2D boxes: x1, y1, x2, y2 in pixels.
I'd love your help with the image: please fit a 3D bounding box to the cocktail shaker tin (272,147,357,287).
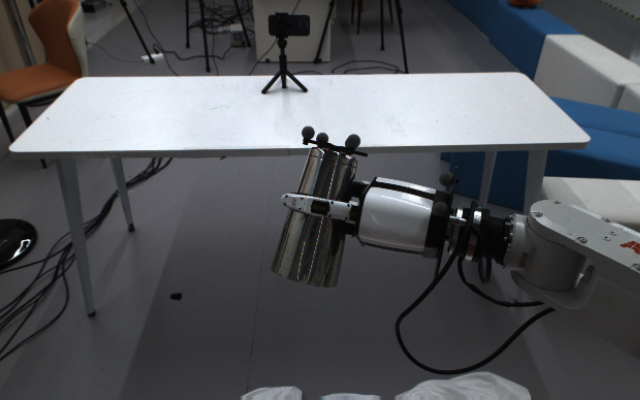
[{"bbox_3d":[-0.002,0.020,0.648,0.093,0.170,0.093,14,2,0],"label":"cocktail shaker tin"}]
